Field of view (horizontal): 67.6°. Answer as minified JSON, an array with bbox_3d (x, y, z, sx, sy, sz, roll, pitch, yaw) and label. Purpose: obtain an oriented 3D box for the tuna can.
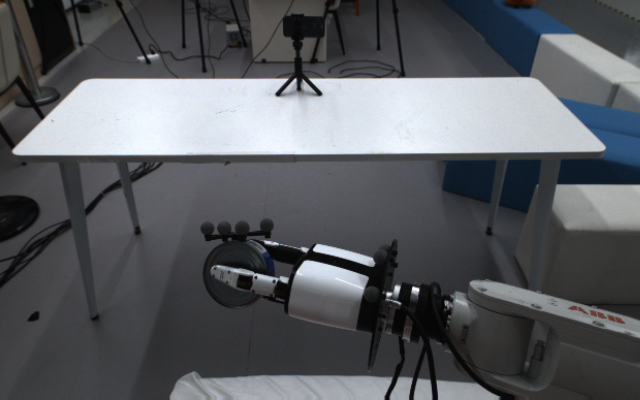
[{"bbox_3d":[-0.099,0.097,0.611,0.085,0.085,0.034,10,3,11],"label":"tuna can"}]
